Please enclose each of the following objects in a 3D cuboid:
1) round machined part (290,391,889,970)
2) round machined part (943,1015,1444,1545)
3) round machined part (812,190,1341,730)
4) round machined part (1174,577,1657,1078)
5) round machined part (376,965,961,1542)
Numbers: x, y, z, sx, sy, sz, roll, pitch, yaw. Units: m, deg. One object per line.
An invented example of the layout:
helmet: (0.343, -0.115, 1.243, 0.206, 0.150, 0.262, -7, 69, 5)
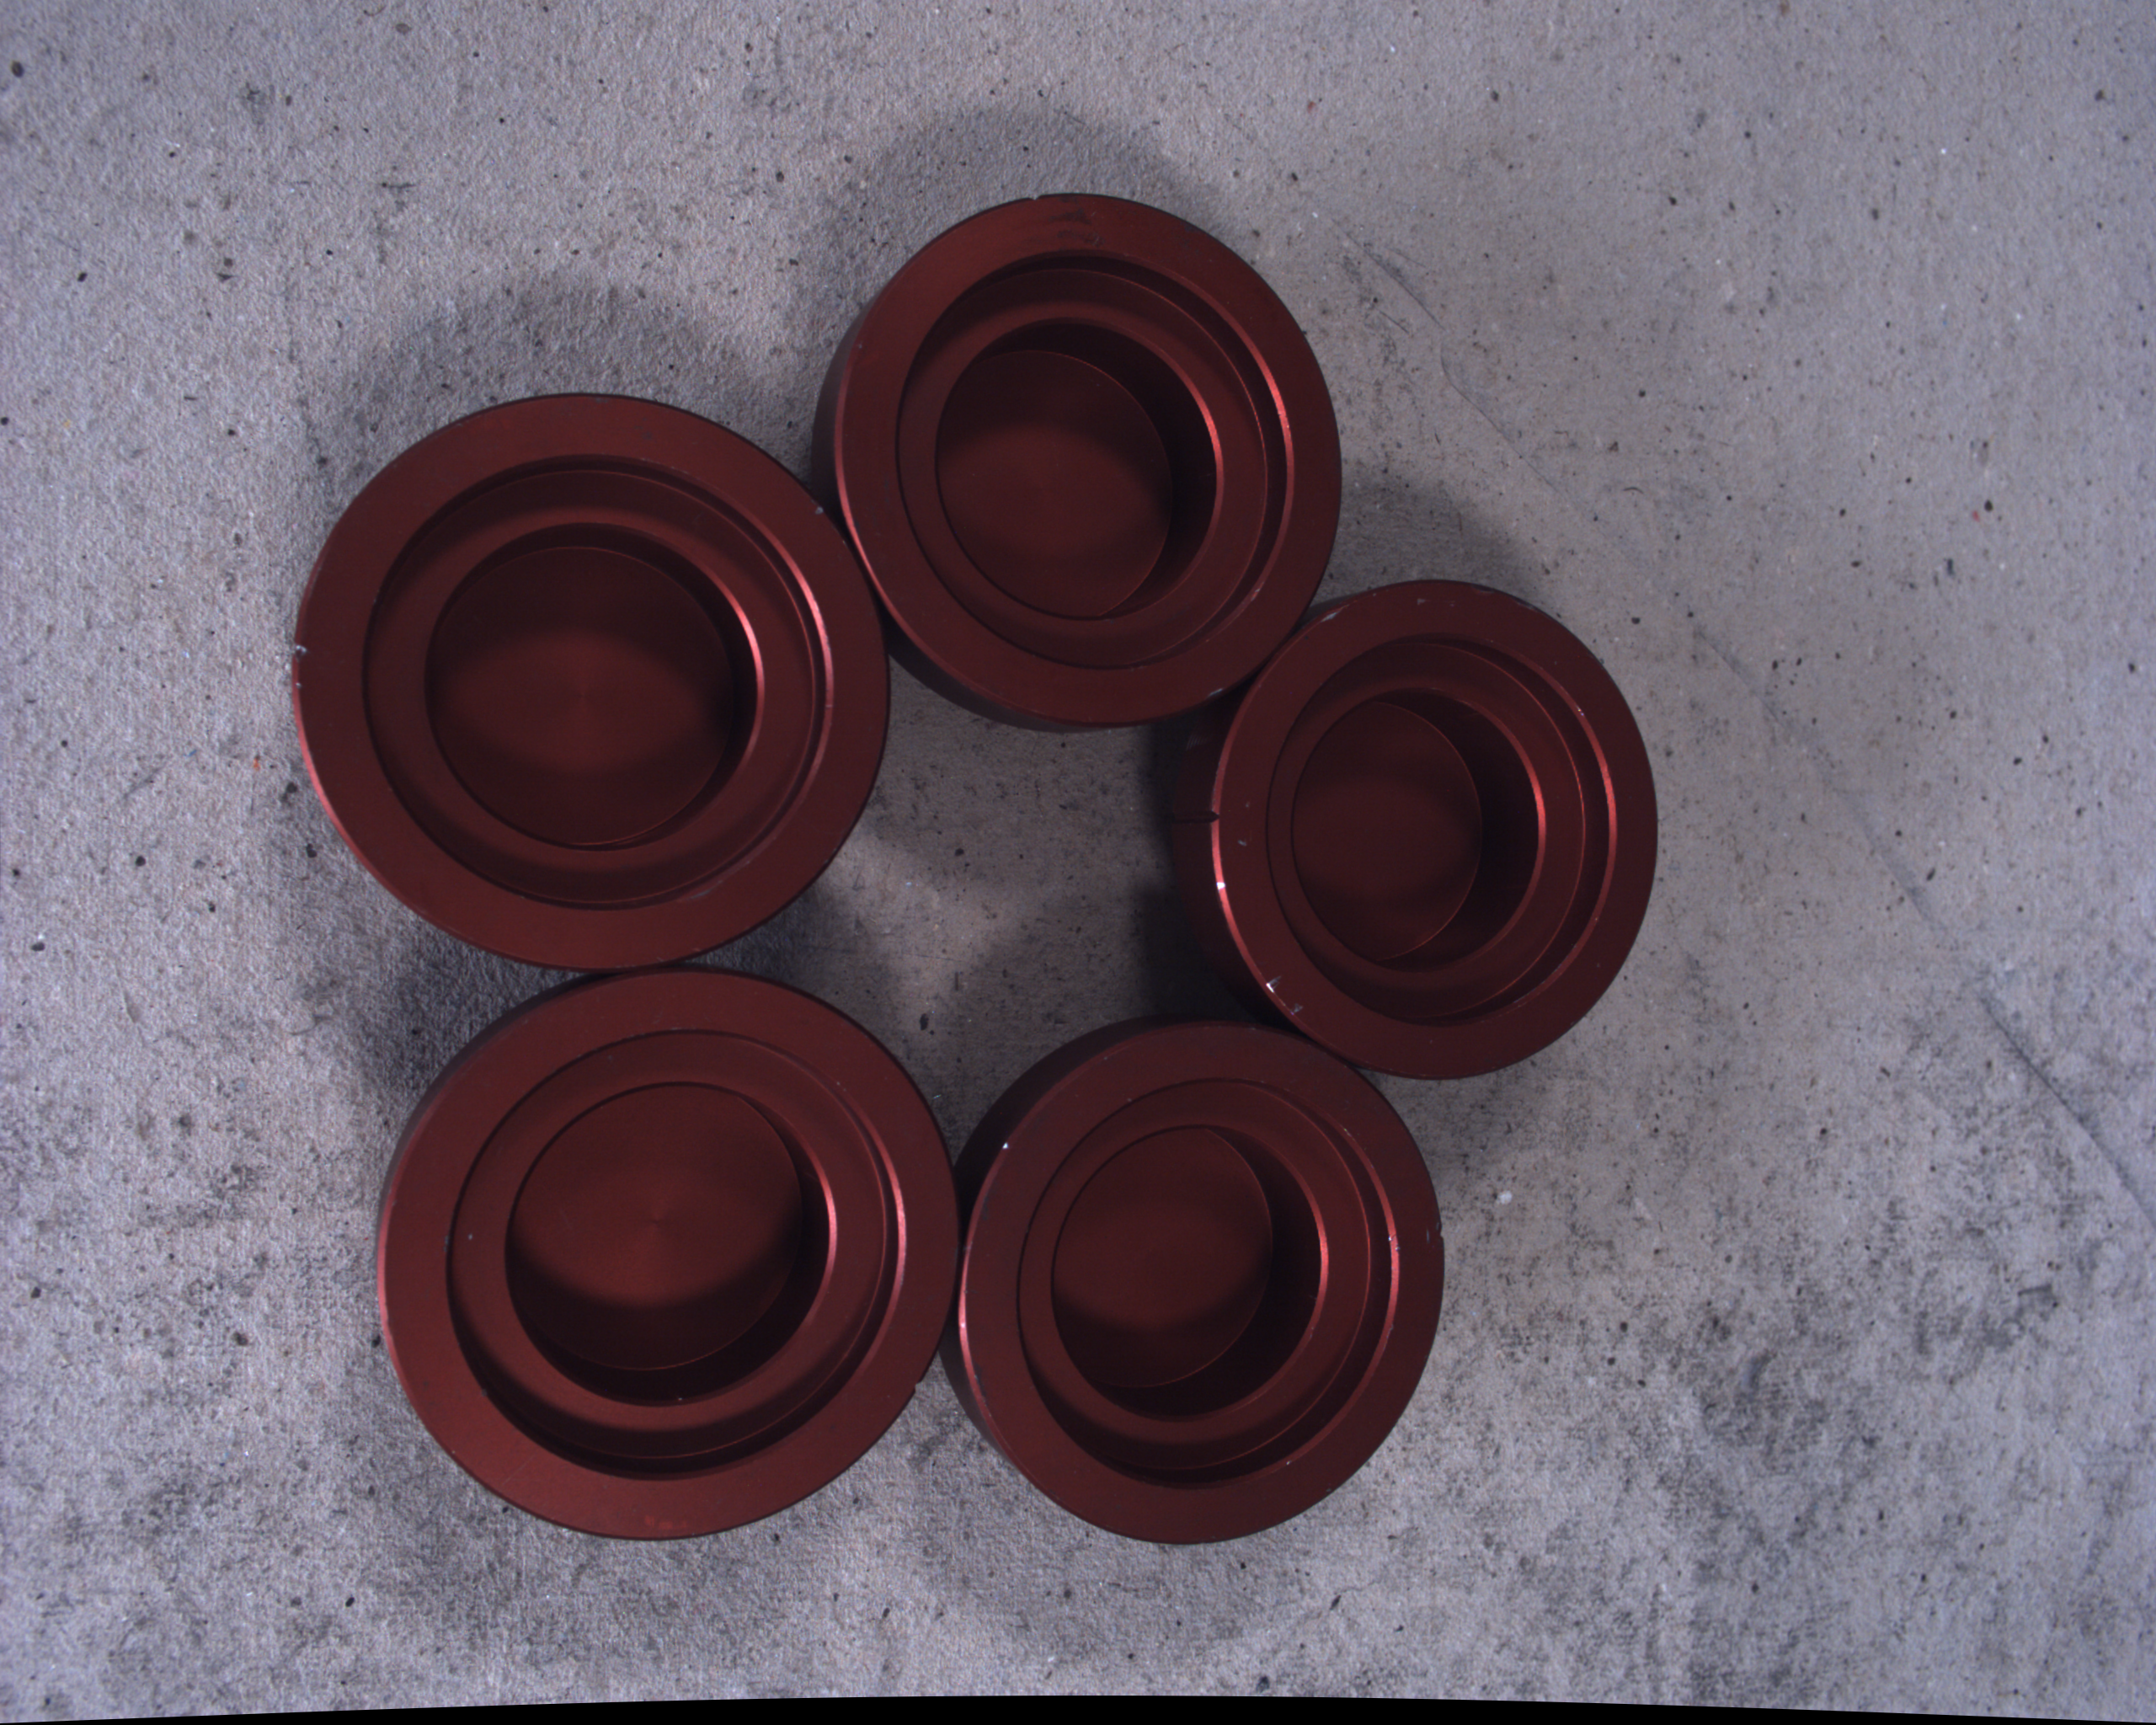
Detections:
round machined part: (-0.086, -0.030, 0.369, 0.099, 0.042, 0.097, 0, 89, -20)
round machined part: (0.018, 0.078, 0.408, 0.099, 0.042, 0.097, 0, 89, -21)
round machined part: (-0.003, -0.074, 0.399, 0.099, 0.042, 0.097, 0, 89, -21)
round machined part: (0.064, -0.006, 0.424, 0.099, 0.042, 0.097, 0, 89, -21)
round machined part: (-0.074, 0.067, 0.373, 0.099, 0.042, 0.097, 0, 89, -21)
